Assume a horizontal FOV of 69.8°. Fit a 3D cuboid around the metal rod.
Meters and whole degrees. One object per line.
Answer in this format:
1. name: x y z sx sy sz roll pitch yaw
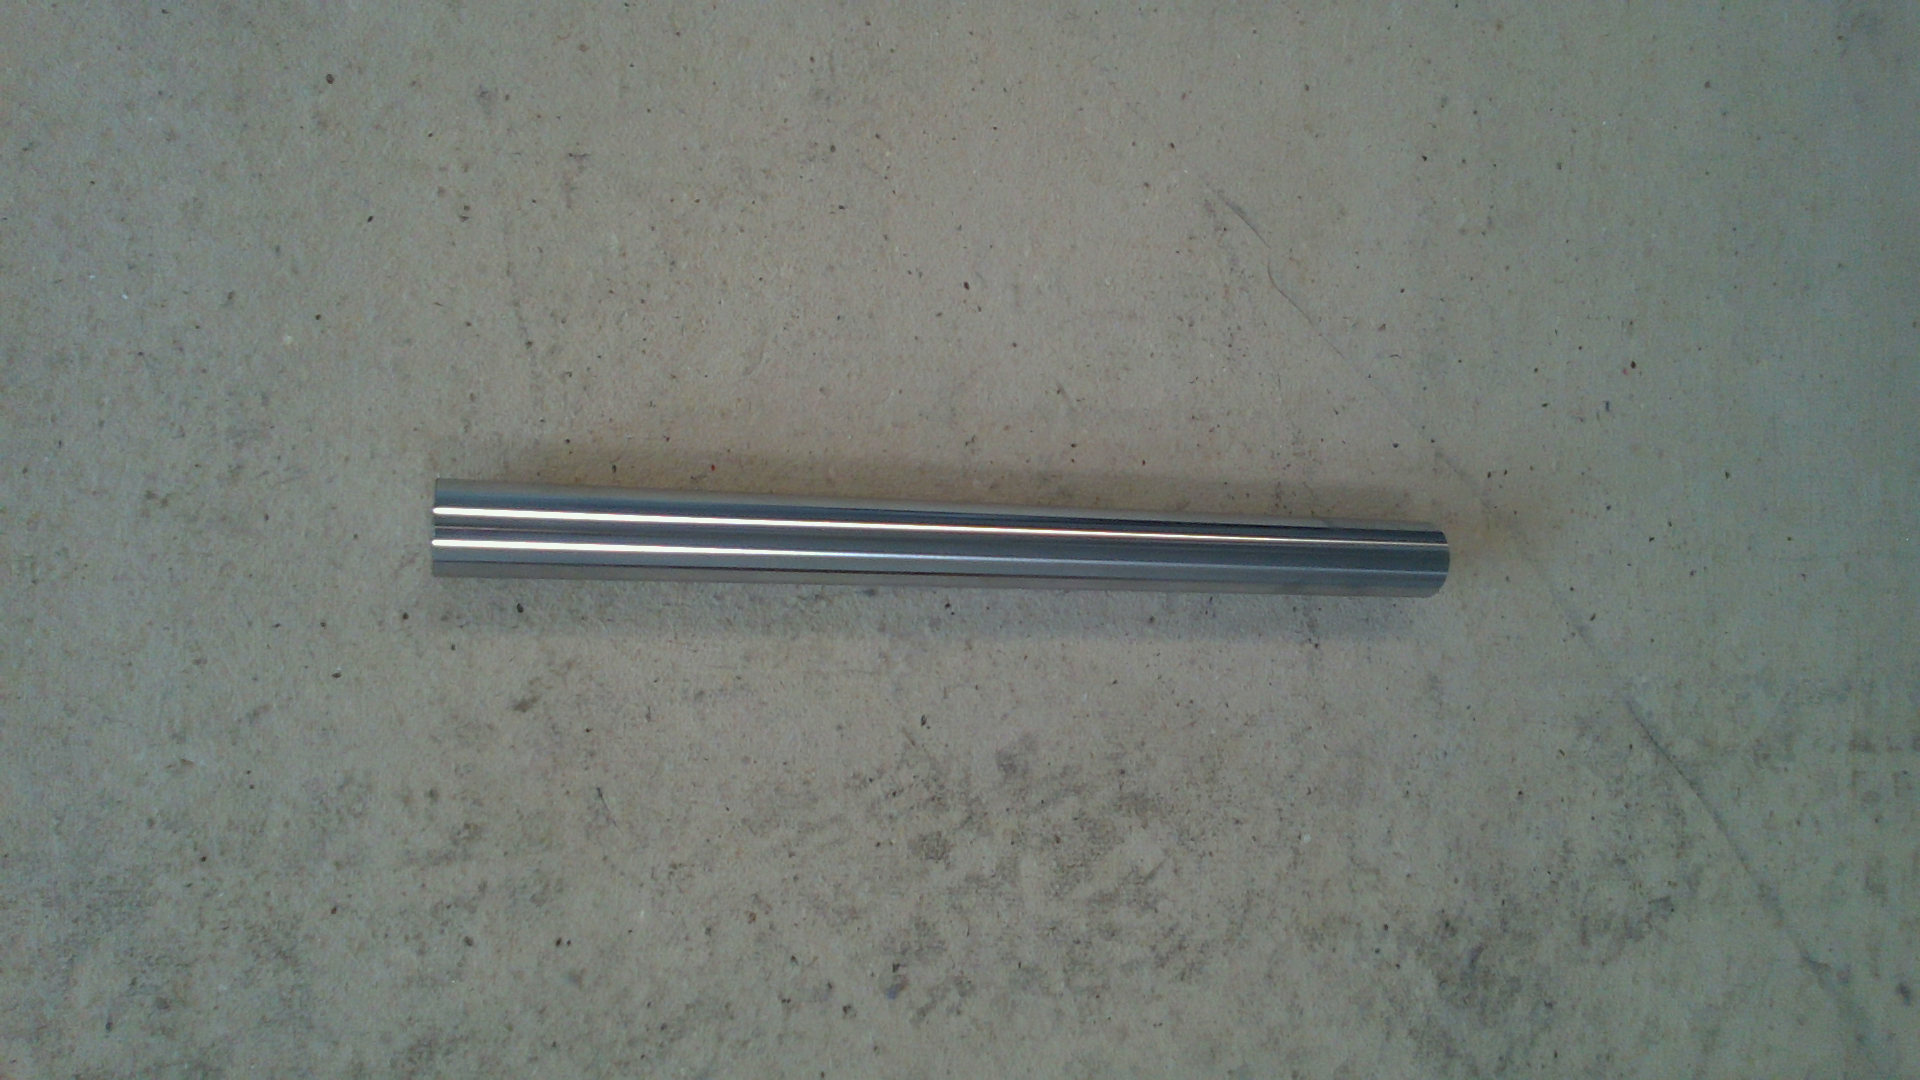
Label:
1. metal rod: 0.009 0.001 0.397 0.301 0.025 0.025 2 89 -20
